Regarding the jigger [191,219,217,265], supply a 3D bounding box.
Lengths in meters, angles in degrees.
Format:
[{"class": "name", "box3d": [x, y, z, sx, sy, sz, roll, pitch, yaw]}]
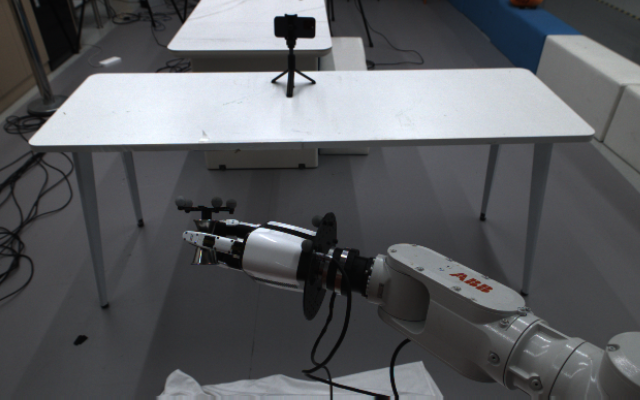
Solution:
[{"class": "jigger", "box3d": [-0.177, 0.065, 0.745, 0.043, 0.071, 0.043, 1, -4, 0]}]
